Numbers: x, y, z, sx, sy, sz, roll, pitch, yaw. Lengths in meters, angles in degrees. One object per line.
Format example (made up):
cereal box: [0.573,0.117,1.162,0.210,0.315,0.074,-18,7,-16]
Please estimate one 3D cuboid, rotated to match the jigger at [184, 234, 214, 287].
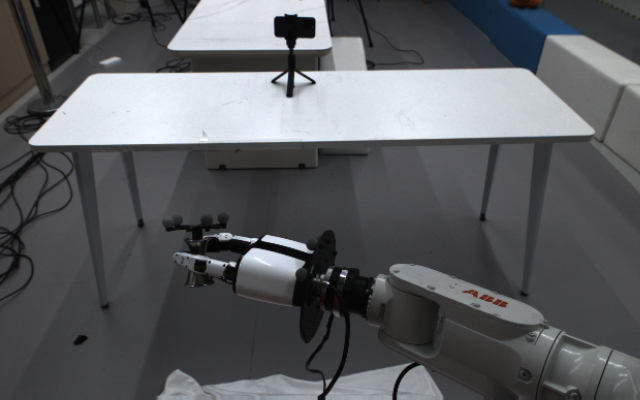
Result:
jigger: [-0.180,0.090,0.714,0.043,0.071,0.043,-2,4,0]
